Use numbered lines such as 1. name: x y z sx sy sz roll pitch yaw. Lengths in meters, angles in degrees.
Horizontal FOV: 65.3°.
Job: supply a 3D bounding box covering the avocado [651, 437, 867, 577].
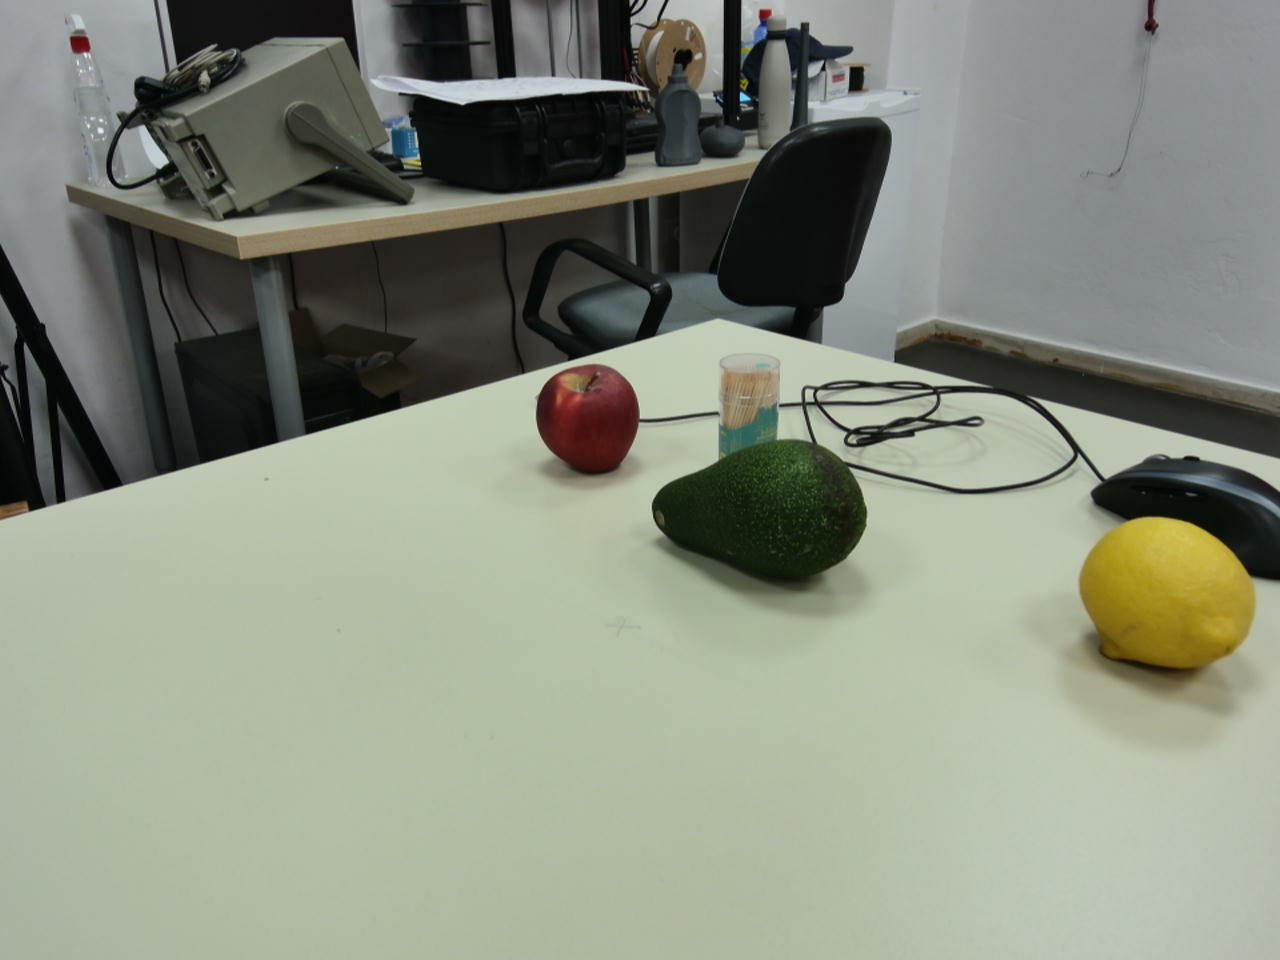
1. avocado: 0.069 0.010 0.542 0.074 0.076 0.123 -16 28 -32
